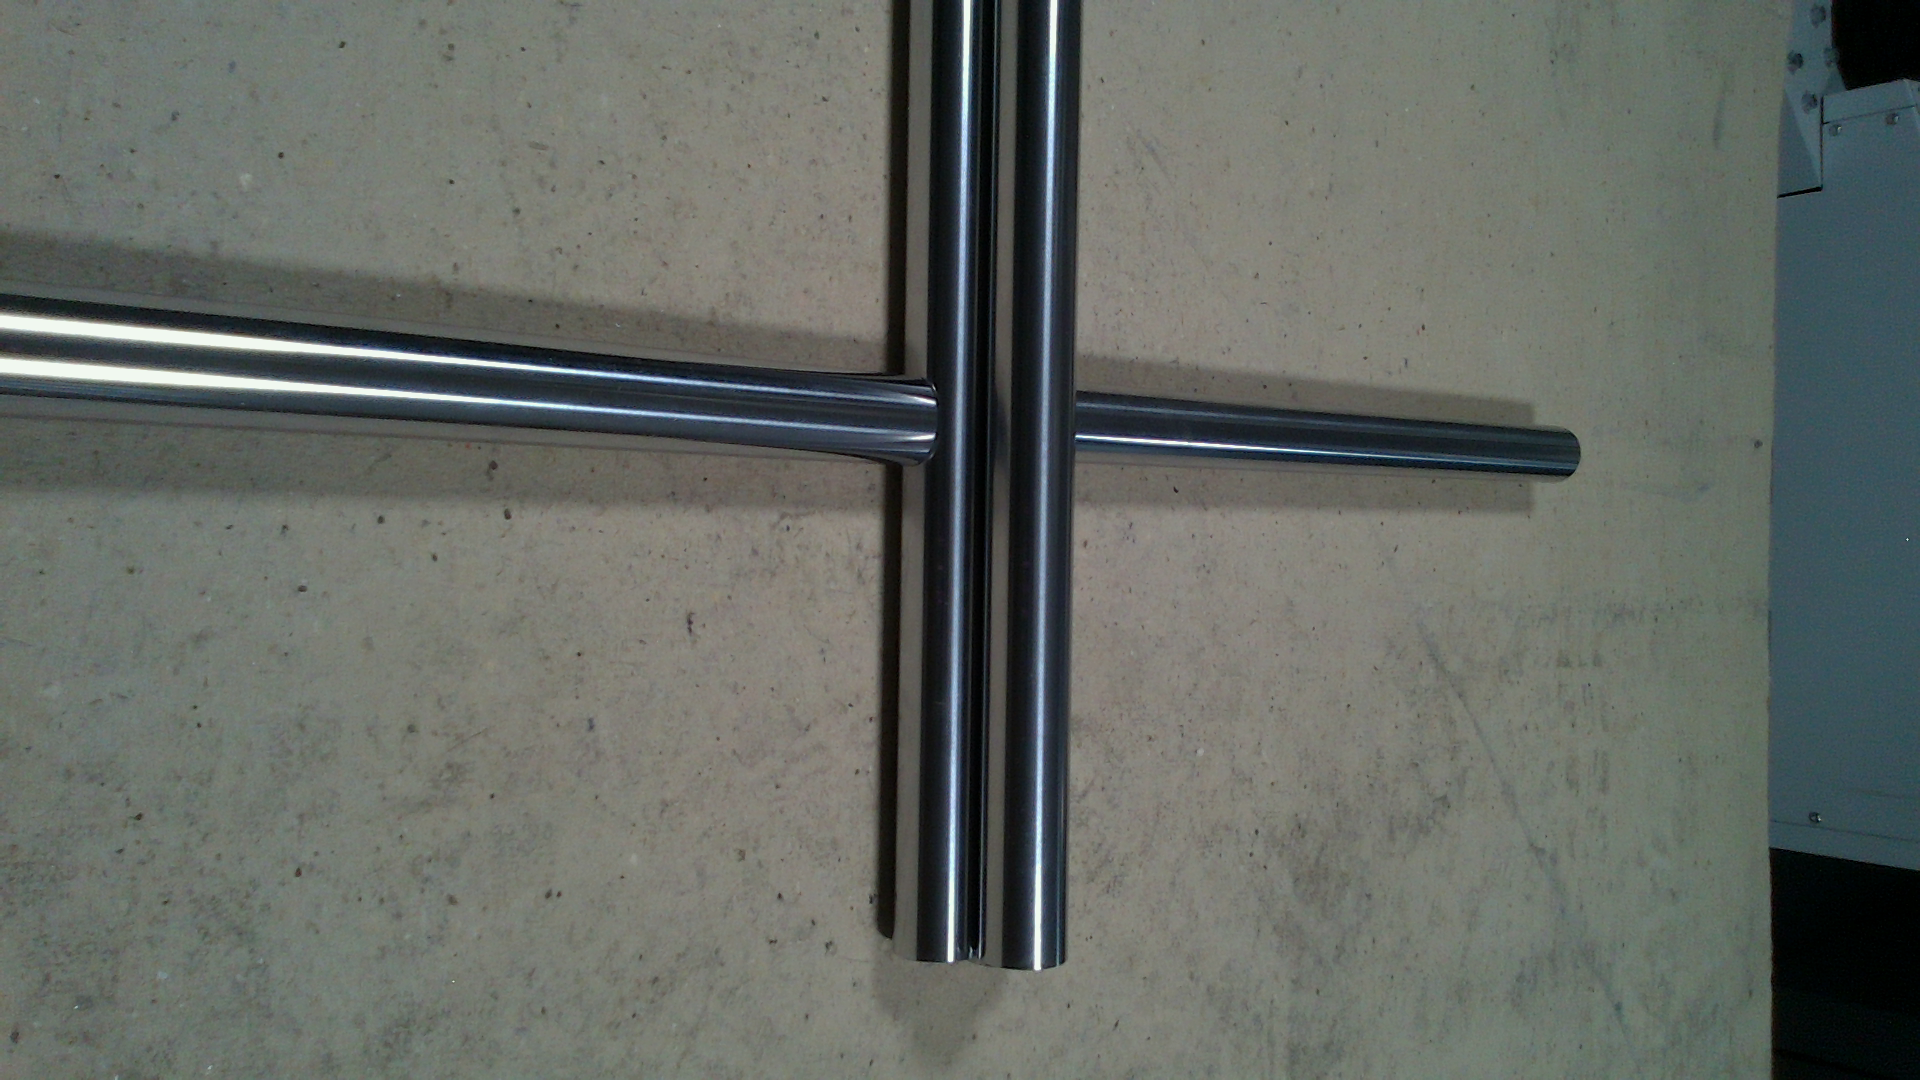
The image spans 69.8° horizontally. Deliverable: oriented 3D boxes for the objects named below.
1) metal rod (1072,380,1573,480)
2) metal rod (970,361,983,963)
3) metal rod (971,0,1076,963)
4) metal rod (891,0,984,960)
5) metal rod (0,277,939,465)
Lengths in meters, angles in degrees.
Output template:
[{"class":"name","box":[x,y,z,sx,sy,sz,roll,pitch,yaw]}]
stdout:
[{"class":"metal rod","box":[0.141,-0.038,0.506,0.301,0.025,0.025,-1,90,-40]},{"class":"metal rod","box":[0.015,-0.030,0.402,0.025,0.025,0.300,2,89,-40]},{"class":"metal rod","box":[0.018,-0.038,0.378,0.025,0.025,0.300,2,89,-40]},{"class":"metal rod","box":[-0.005,-0.036,0.386,0.025,0.025,0.300,2,89,-40]},{"class":"metal rod","box":[-0.129,-0.034,0.281,0.301,0.025,0.025,0,90,-40]}]
